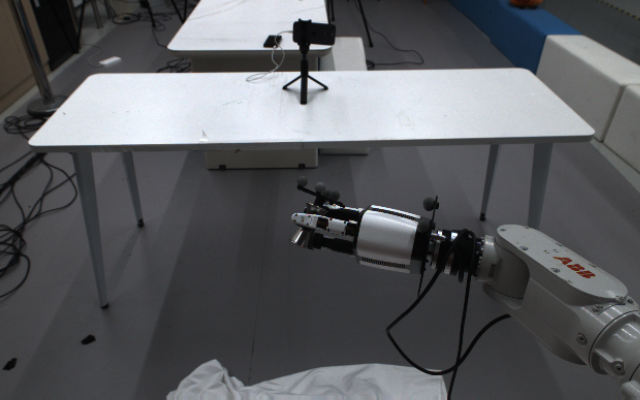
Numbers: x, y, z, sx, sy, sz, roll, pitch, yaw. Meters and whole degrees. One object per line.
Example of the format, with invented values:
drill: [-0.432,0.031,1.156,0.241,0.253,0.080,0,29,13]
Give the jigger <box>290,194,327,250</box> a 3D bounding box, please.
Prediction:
jigger: [-0.019,0.039,0.773,0.043,0.071,0.043,24,-2,1]
